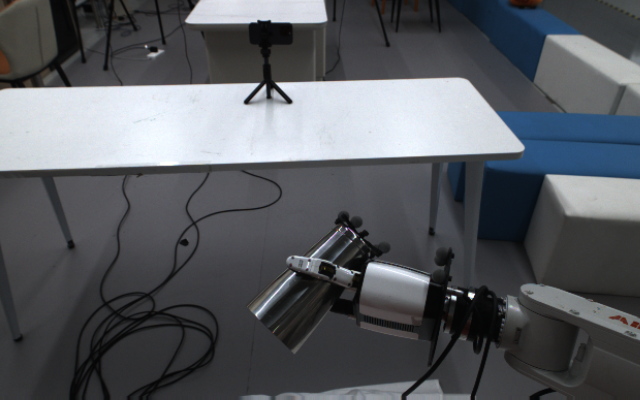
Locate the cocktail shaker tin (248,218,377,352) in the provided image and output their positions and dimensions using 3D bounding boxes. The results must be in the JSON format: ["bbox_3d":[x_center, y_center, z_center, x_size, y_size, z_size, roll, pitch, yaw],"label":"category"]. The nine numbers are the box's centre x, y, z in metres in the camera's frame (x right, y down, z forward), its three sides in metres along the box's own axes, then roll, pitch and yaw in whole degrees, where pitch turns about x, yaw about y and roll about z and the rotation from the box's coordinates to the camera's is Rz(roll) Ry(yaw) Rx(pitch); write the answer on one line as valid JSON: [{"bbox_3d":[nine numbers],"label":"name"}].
[{"bbox_3d":[-0.010,0.110,0.667,0.170,0.093,0.093,-43,50,-14],"label":"cocktail shaker tin"}]
